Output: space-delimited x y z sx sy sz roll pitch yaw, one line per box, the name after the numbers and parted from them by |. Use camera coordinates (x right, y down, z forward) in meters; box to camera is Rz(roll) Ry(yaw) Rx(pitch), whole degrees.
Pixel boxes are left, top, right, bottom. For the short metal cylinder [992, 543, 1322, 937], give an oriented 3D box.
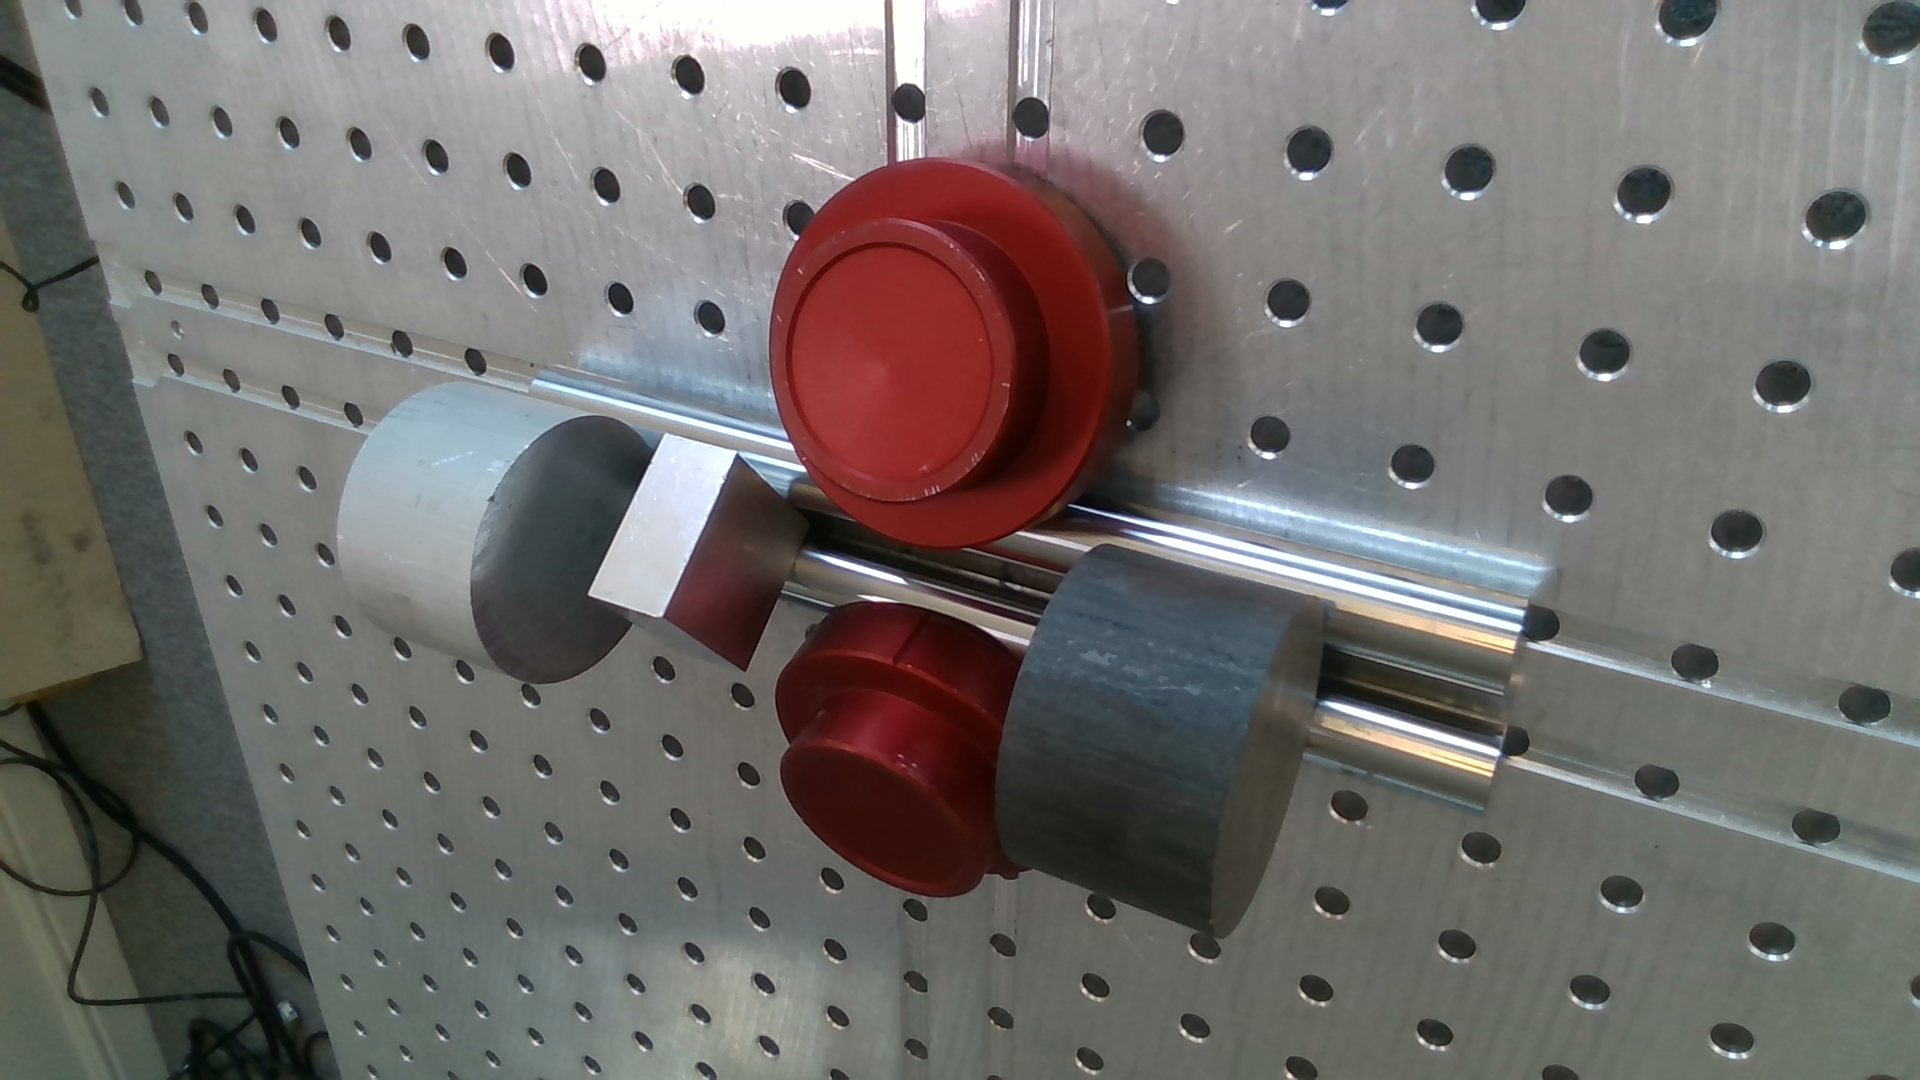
0.048 0.045 0.323 0.050 0.080 0.080 15 122 24 | short metal cylinder

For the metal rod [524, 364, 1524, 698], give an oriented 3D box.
-0.002 -0.010 0.387 0.300 0.025 0.025 15 122 24 | metal rod

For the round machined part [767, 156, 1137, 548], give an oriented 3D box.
-0.009 -0.046 0.345 0.098 0.042 0.098 7 105 27 | round machined part

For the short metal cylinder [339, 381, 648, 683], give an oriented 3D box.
-0.133 -0.003 0.409 0.050 0.080 0.080 15 122 24 | short metal cylinder

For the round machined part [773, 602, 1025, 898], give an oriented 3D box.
-0.015 0.068 0.410 0.098 0.042 0.098 20 139 19 | round machined part

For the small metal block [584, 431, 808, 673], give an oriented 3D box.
-0.074 0.004 0.393 0.025 0.050 0.050 15 164 24 | small metal block

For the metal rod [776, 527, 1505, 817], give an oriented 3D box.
0.000 0.021 0.403 0.300 0.025 0.025 15 122 24 | metal rod
